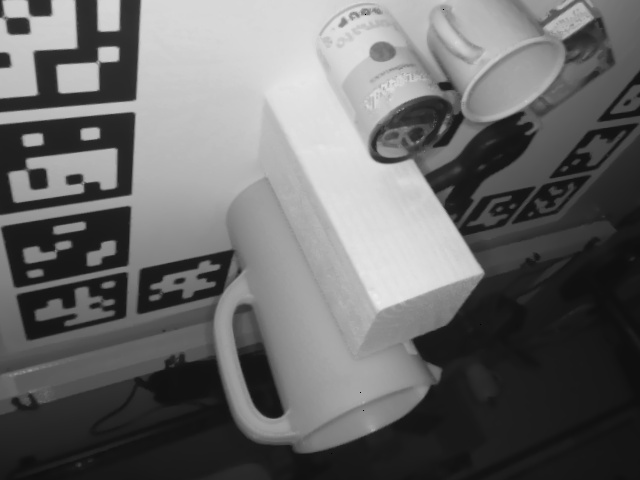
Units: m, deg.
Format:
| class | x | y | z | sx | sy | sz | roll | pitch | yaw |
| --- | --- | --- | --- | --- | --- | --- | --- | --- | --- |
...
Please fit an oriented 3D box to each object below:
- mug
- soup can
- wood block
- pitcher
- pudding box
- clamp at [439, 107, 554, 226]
| class | x | y | z | sx | sy | sz | roll | pitch | yaw |
| --- | --- | --- | --- | --- | --- | --- | --- | --- | --- |
| mug | 0.142 | -0.159 | 0.561 | 0.092 | 0.081 | 0.118 | -38 | 150 | 25 |
| soup can | 0.058 | -0.121 | 0.533 | 0.068 | 0.102 | 0.067 | -20 | 148 | -12 |
| wood block | 0.043 | -0.024 | 0.569 | 0.091 | 0.206 | 0.090 | -10 | 147 | -18 |
| pitcher | 0.002 | 0.064 | 0.645 | 0.191 | 0.242 | 0.131 | -15 | 151 | -24 |
| pudding box | 0.252 | -0.178 | 0.668 | 0.089 | 0.038 | 0.115 | -42 | 148 | 20 |
| clamp | 0.198 | -0.083 | 0.785 | 0.123 | 0.036 | 0.163 | 17 | 130 | -41 |
